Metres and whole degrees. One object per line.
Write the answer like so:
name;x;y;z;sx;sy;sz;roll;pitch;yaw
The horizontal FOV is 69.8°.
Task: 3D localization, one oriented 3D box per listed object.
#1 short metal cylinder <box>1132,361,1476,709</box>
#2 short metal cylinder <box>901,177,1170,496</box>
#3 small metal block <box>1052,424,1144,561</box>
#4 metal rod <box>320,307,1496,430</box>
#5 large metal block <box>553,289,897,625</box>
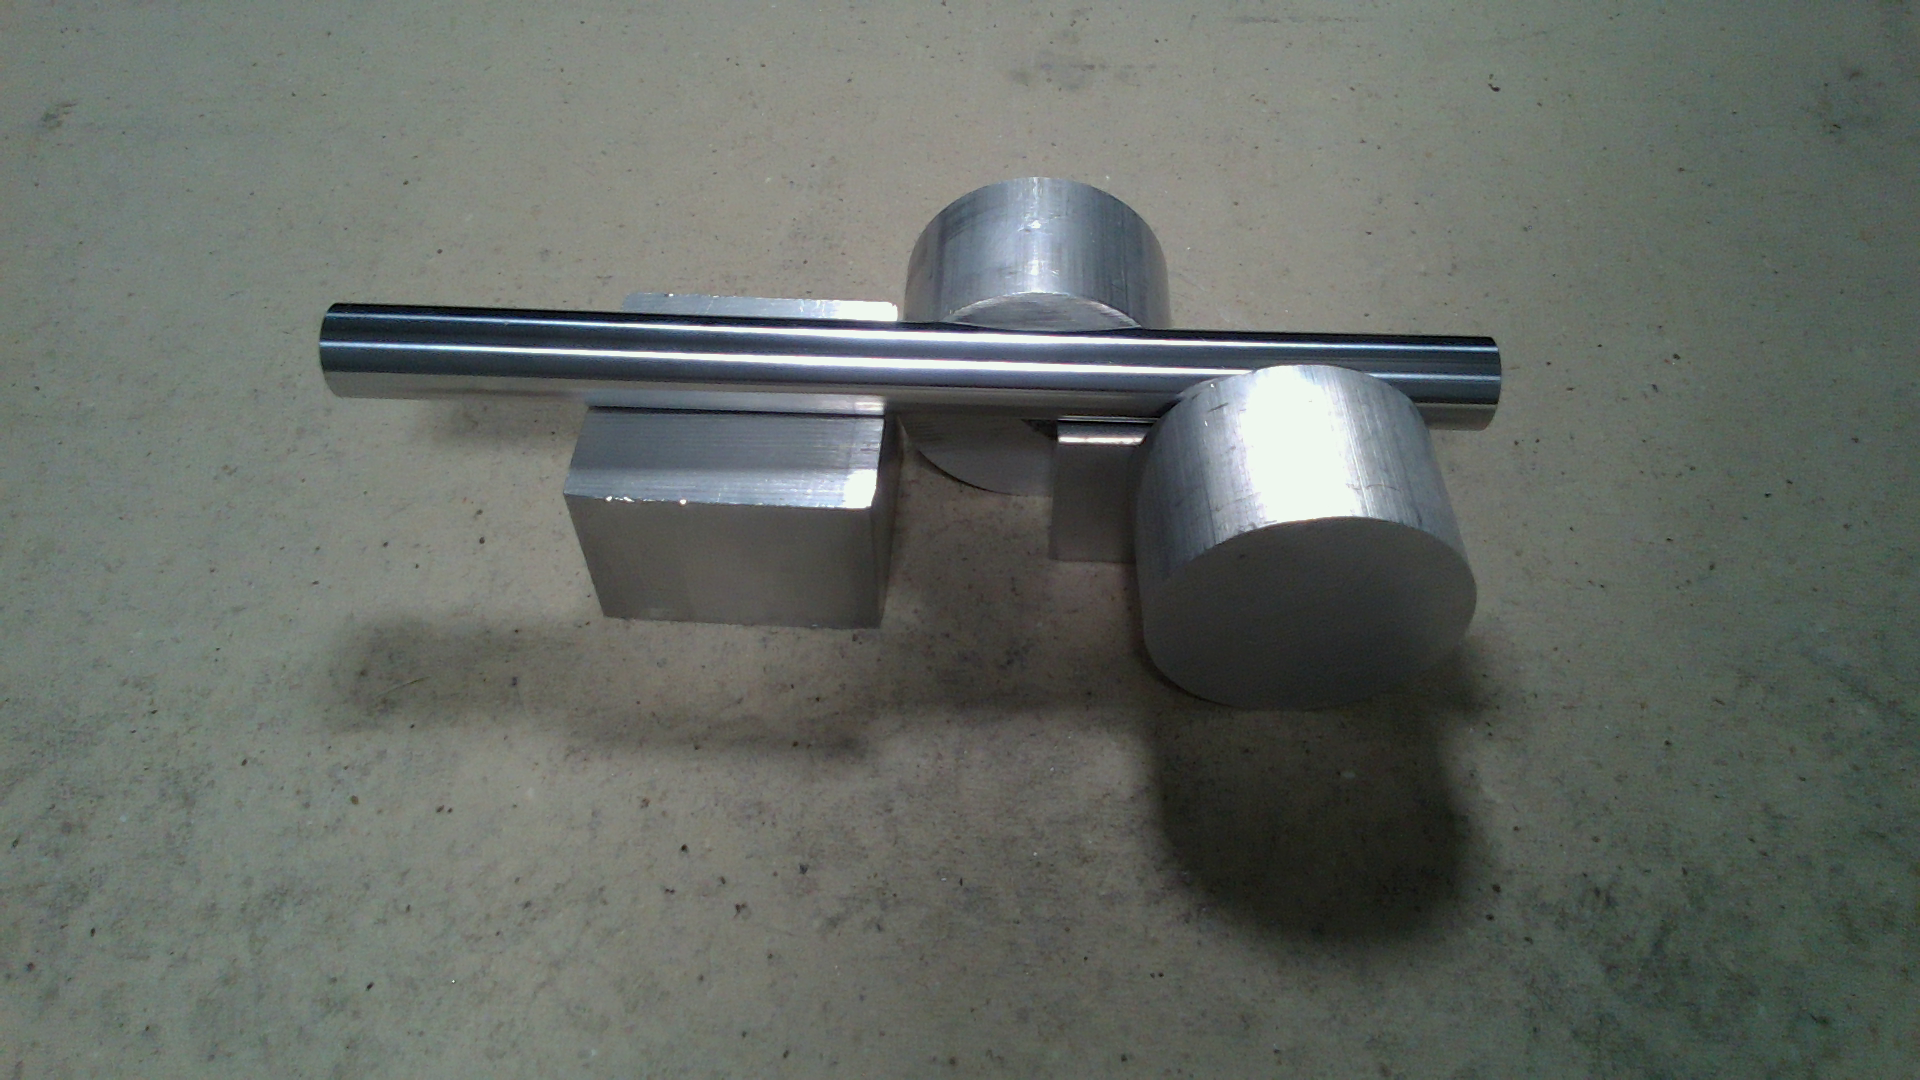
short metal cylinder;0.086;0.001;0.355;0.080;0.080;0.050;0;50;0
short metal cylinder;0.022;-0.058;0.406;0.080;0.080;0.050;2;50;2
small metal block;0.052;-0.020;0.390;0.050;0.050;0.025;1;50;1
metal rod;-0.013;-0.045;0.363;0.300;0.025;0.025;1;50;0
large metal block;-0.061;-0.025;0.392;0.080;0.050;0.080;2;50;2
